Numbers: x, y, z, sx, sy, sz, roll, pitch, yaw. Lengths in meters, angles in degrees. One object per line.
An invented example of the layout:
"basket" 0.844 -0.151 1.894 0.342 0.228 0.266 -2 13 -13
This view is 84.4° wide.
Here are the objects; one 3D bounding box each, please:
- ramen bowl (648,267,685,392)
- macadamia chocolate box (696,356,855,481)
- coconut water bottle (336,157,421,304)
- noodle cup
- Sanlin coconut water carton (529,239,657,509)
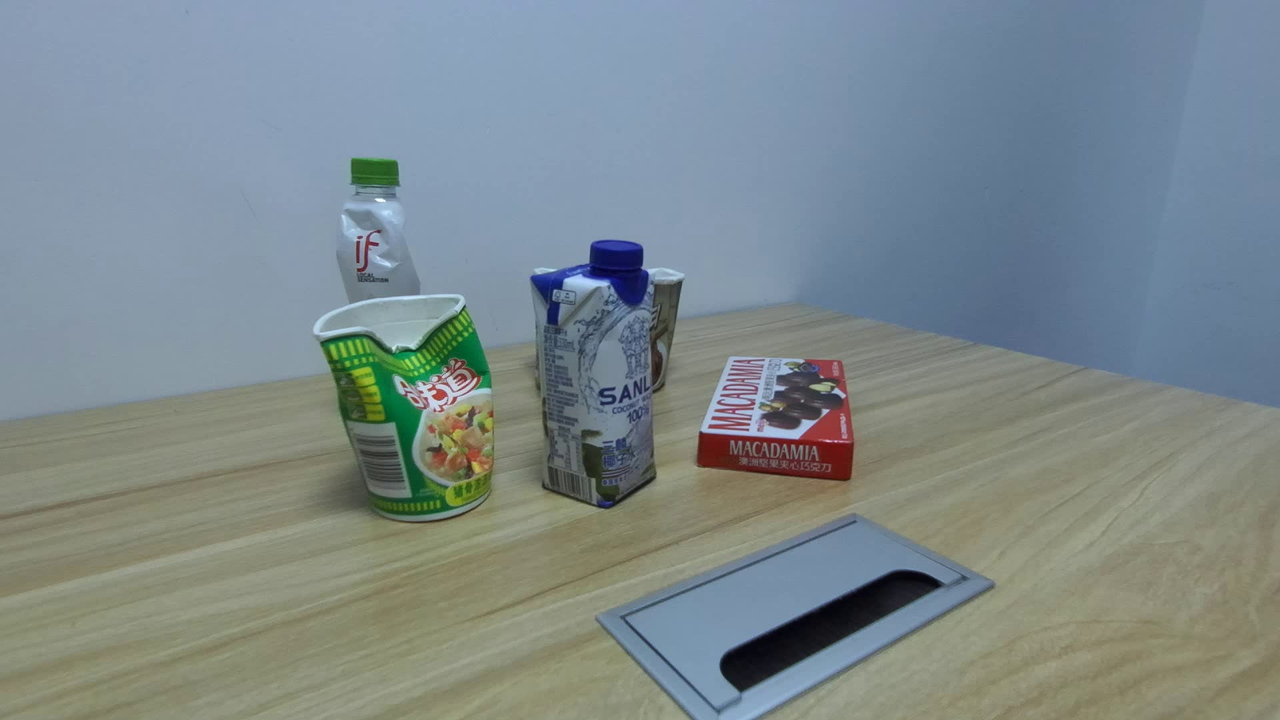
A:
"ramen bowl" -0.024 -0.026 0.600 0.134 0.097 0.113 -8 17 -16
"macadamia chocolate box" 0.100 0.035 0.509 0.095 0.027 0.178 3 16 13
"coconut water bottle" -0.179 -0.045 0.498 0.067 0.187 0.067 0 15 0
"noodle cup" -0.122 0.024 0.394 0.083 0.122 0.075 -18 15 -22
"Sanlin coconut water carton" -0.024 0.006 0.400 0.060 0.144 0.061 9 18 33
